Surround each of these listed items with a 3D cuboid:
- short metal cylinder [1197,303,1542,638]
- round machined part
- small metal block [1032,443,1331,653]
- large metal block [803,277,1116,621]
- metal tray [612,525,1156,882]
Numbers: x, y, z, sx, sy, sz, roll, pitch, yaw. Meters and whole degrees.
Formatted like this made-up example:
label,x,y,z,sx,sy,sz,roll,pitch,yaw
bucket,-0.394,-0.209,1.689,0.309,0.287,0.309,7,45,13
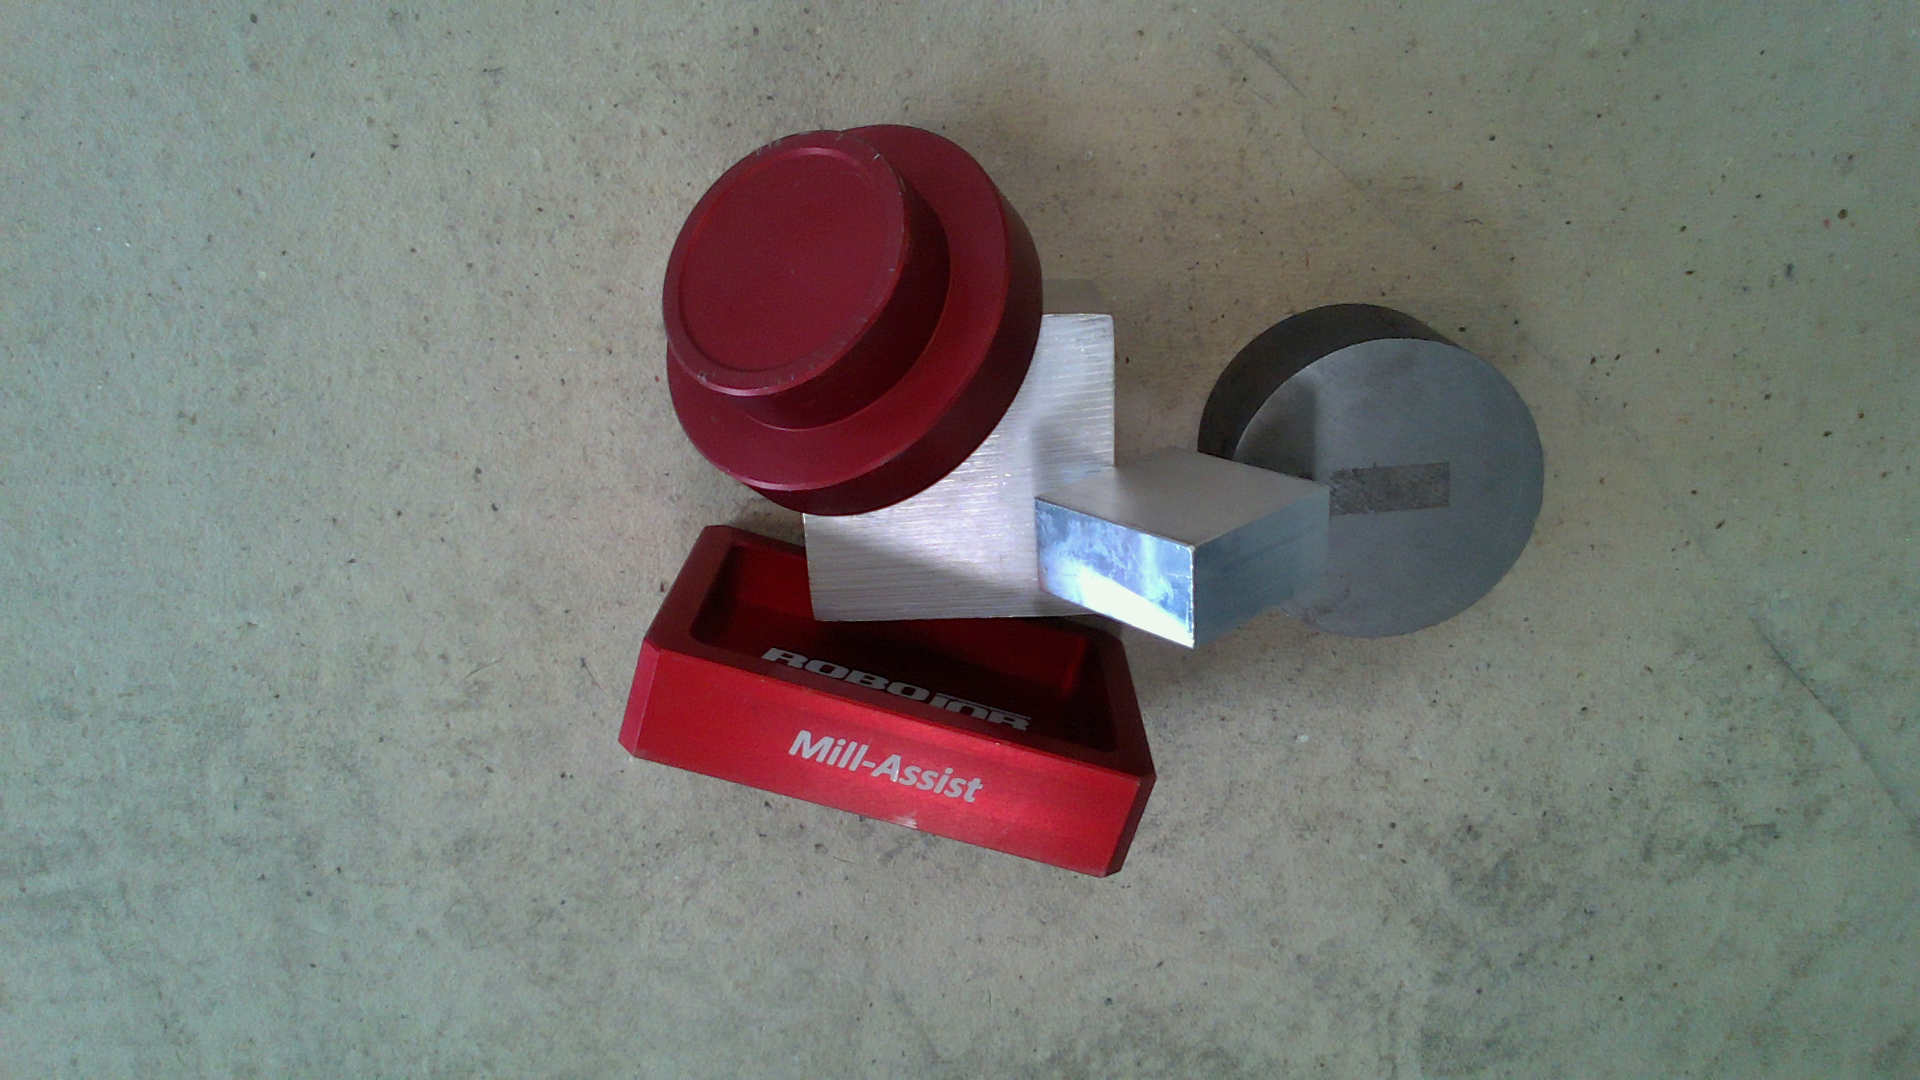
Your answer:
label,x,y,z,sx,sy,sz,roll,pitch,yaw
short metal cylinder,0.109,-0.020,0.375,0.080,0.050,0.080,0,110,0
round machined part,-0.033,-0.058,0.333,0.098,0.098,0.042,-35,151,12
small metal block,0.053,0.000,0.332,0.050,0.050,0.025,-22,118,-36
large metal block,-0.001,-0.026,0.372,0.080,0.050,0.080,-2,110,0
metal tray,-0.018,0.040,0.374,0.130,0.090,0.030,16,110,-6
